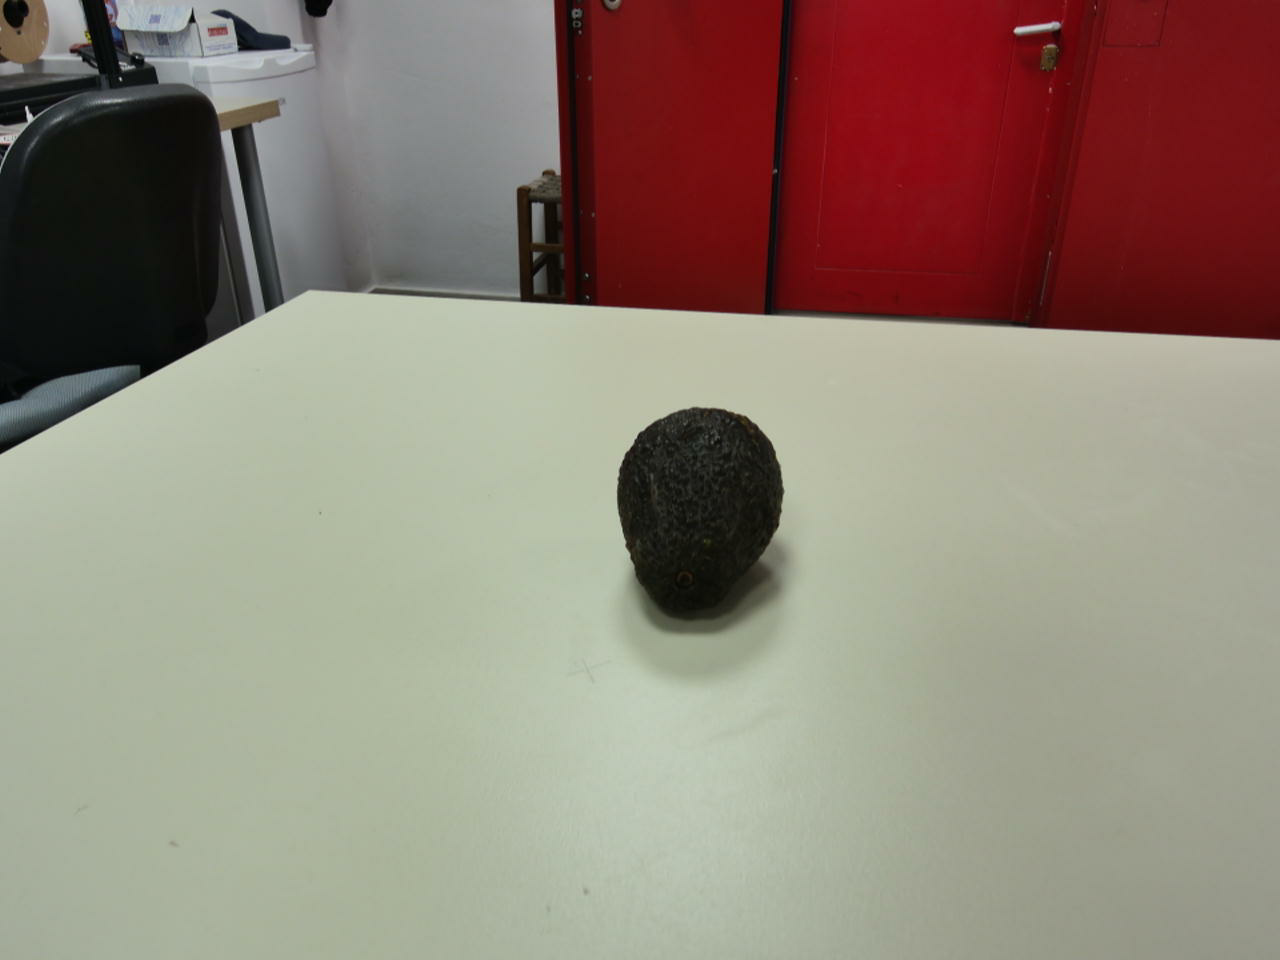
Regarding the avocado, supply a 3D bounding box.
[{"bbox_3d":[0.022,0.007,0.414,0.070,0.069,0.090,17,29,34],"label":"avocado"}]
